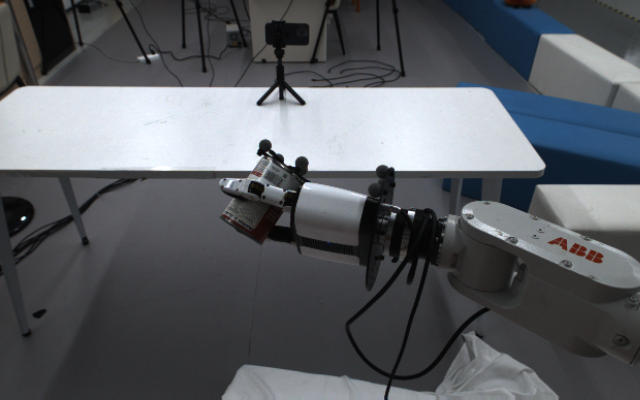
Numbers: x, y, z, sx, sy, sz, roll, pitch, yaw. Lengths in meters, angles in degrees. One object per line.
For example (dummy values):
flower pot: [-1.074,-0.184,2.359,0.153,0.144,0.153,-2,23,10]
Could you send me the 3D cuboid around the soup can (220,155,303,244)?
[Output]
soup can: [-0.077,0.001,0.652,0.067,0.067,0.101,27,78,31]
